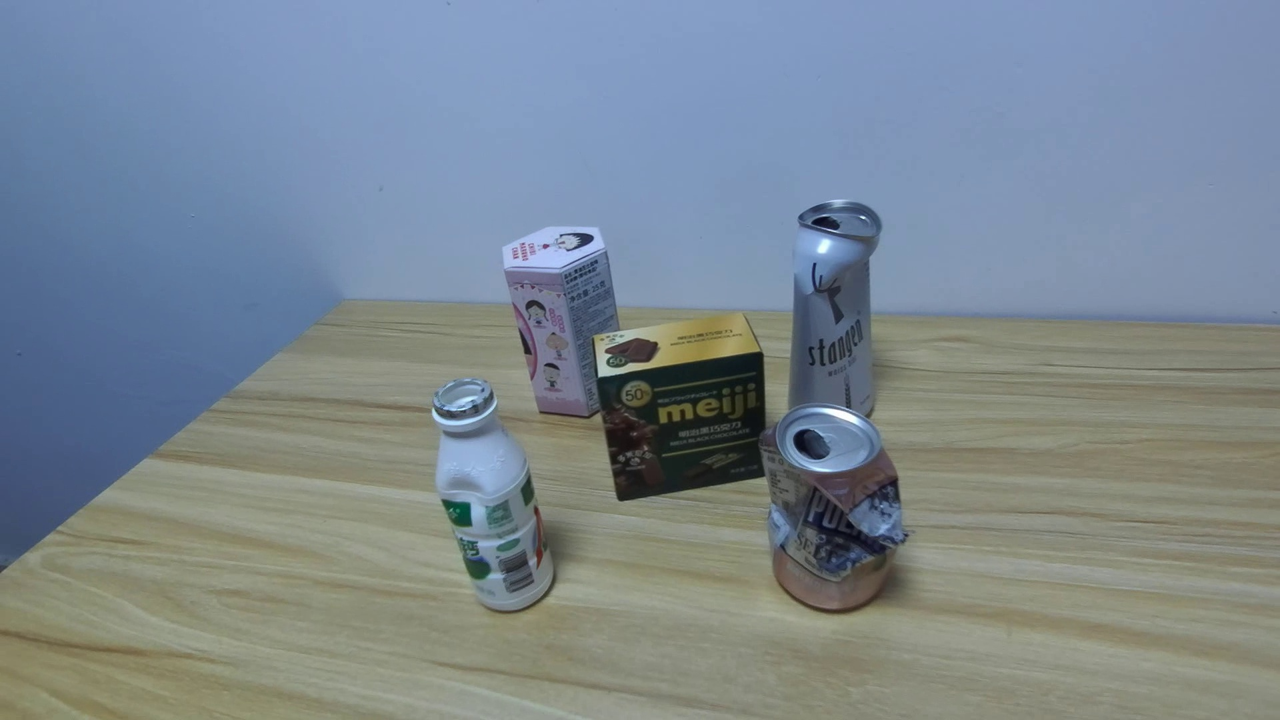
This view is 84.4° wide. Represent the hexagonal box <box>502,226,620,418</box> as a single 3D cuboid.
[{"bbox_3d":[-0.059,-0.030,0.580,0.084,0.136,0.091,-12,32,-6],"label":"hexagonal box"}]

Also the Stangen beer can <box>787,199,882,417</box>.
[{"bbox_3d":[0.139,-0.029,0.509,0.066,0.162,0.077,-7,34,4],"label":"Stangen beer can"}]

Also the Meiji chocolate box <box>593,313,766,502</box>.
[{"bbox_3d":[0.028,0.033,0.487,0.110,0.109,0.056,-9,33,-2],"label":"Meiji chocolate box"}]

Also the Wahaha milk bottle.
[{"bbox_3d":[-0.085,0.085,0.409,0.053,0.137,0.053,-5,32,4],"label":"Wahaha milk bottle"}]

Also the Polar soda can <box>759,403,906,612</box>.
[{"bbox_3d":[0.106,0.083,0.391,0.074,0.114,0.070,-4,38,13],"label":"Polar soda can"}]
